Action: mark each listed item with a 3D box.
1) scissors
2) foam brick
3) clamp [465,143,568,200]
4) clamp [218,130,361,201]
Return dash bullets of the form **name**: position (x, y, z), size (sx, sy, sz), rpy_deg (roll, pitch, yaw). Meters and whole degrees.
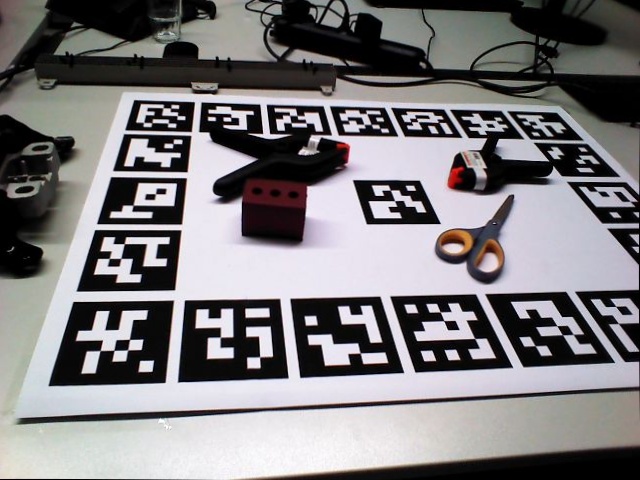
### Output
- **scissors**: position (0.239, -0.001, 0.672), size (0.088, 0.016, 0.201), rpy_deg (33, 45, 15)
- **foam brick**: position (-0.040, -0.023, 0.635), size (0.078, 0.051, 0.052), rpy_deg (2, 43, 0)
- **clamp**: position (0.284, -0.101, 0.785), size (0.164, 0.037, 0.122), rpy_deg (-21, 56, -28)
- **clamp**: position (-0.039, -0.110, 0.740), size (0.202, 0.037, 0.165), rpy_deg (-2, 40, -12)
